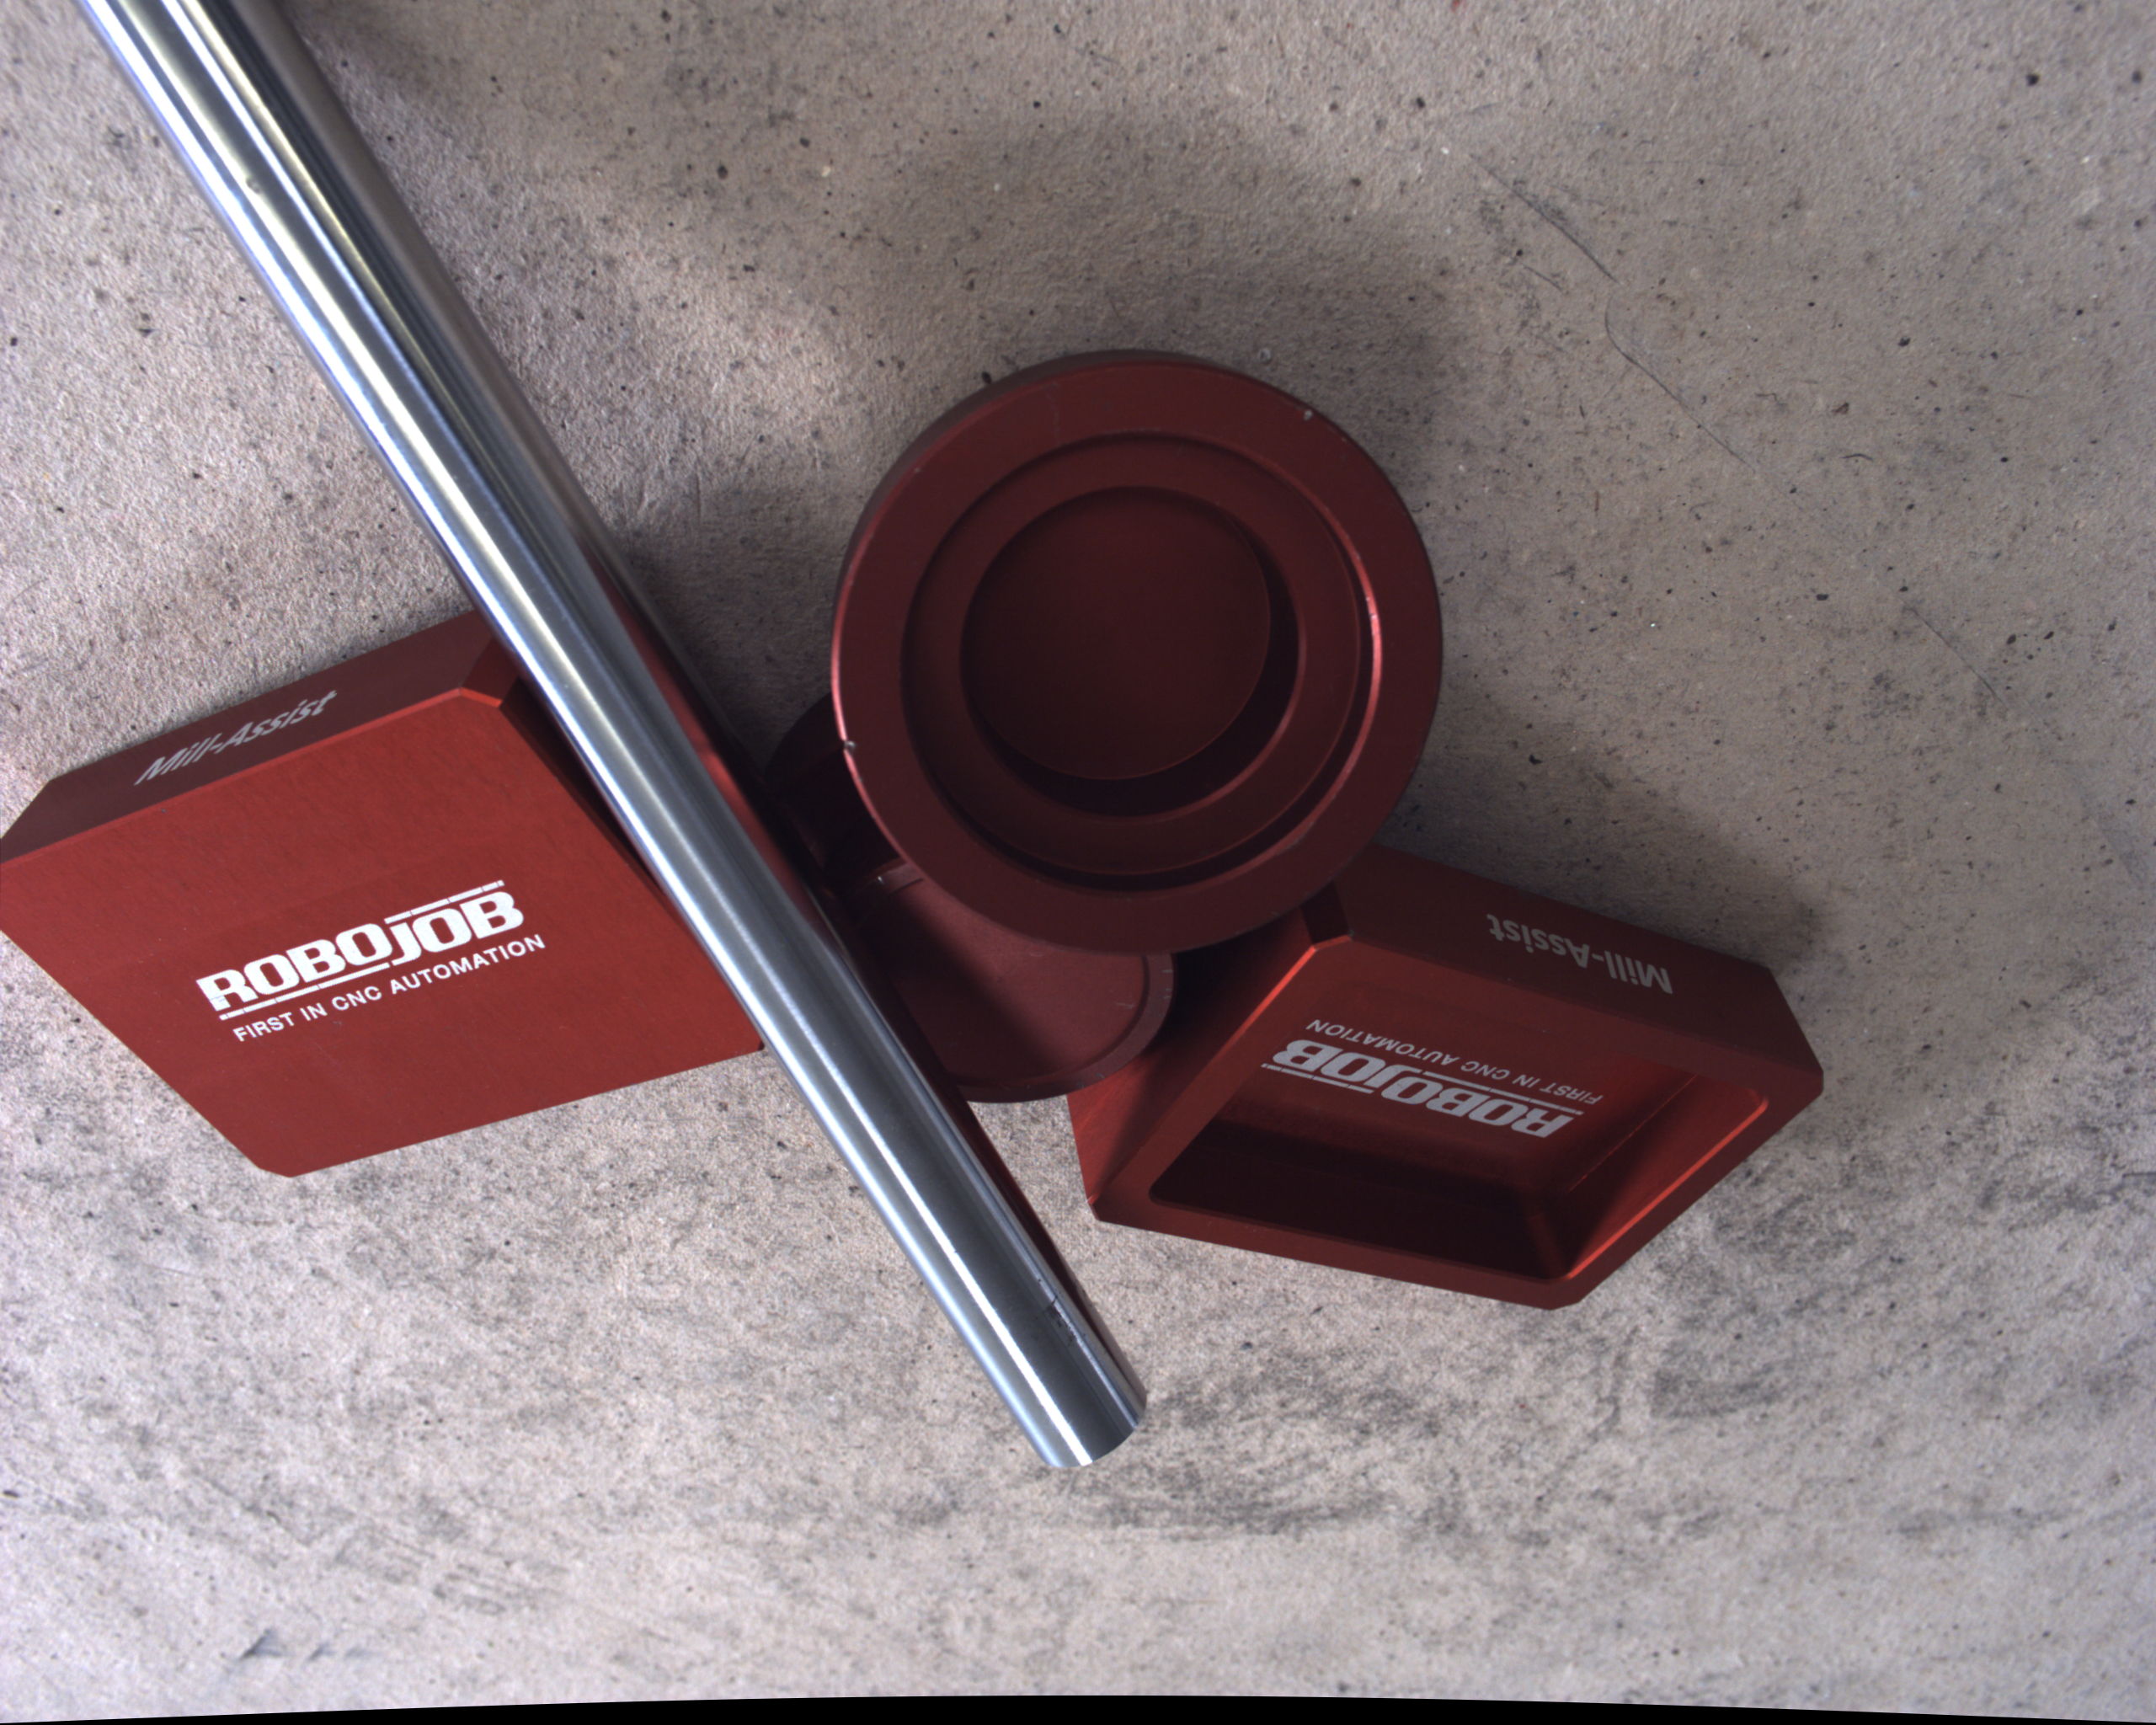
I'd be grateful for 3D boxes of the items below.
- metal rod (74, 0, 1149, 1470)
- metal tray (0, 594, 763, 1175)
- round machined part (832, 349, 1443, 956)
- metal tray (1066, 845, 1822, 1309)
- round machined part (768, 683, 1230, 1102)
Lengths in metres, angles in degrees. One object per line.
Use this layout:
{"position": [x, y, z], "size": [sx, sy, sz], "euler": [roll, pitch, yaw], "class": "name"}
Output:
{"position": [-0.065, -0.009, 0.357], "size": [0.025, 0.025, 0.299], "euler": [-22, 114, 17], "class": "metal rod"}
{"position": [-0.130, 0.009, 0.398], "size": [0.130, 0.030, 0.090], "euler": [-16, 126, 24], "class": "metal tray"}
{"position": [0.008, -0.037, 0.352], "size": [0.099, 0.042, 0.097], "euler": [-2, 109, -6], "class": "round machined part"}
{"position": [0.075, 0.047, 0.432], "size": [0.131, 0.030, 0.089], "euler": [16, 129, -27], "class": "metal tray"}
{"position": [-0.016, 0.009, 0.405], "size": [0.099, 0.042, 0.097], "euler": [0, 130, 0], "class": "round machined part"}
